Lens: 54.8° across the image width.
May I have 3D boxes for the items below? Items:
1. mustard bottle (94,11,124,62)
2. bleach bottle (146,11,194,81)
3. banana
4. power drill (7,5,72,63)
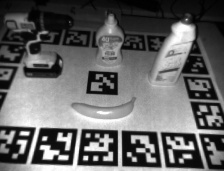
[{"bbox_3d":[-0.010,-0.162,0.726,0.096,0.192,0.058,-3,53,-9],"label":"mustard bottle"},{"bbox_3d":[0.181,-0.119,0.675,0.102,0.251,0.068,9,52,2],"label":"bleach bottle"},{"bbox_3d":[-0.023,0.047,0.649,0.198,0.039,0.074,-2,55,-4],"label":"banana"},{"bbox_3d":[-0.198,-0.154,0.661,0.185,0.188,0.057,-4,53,-3],"label":"power drill"}]
